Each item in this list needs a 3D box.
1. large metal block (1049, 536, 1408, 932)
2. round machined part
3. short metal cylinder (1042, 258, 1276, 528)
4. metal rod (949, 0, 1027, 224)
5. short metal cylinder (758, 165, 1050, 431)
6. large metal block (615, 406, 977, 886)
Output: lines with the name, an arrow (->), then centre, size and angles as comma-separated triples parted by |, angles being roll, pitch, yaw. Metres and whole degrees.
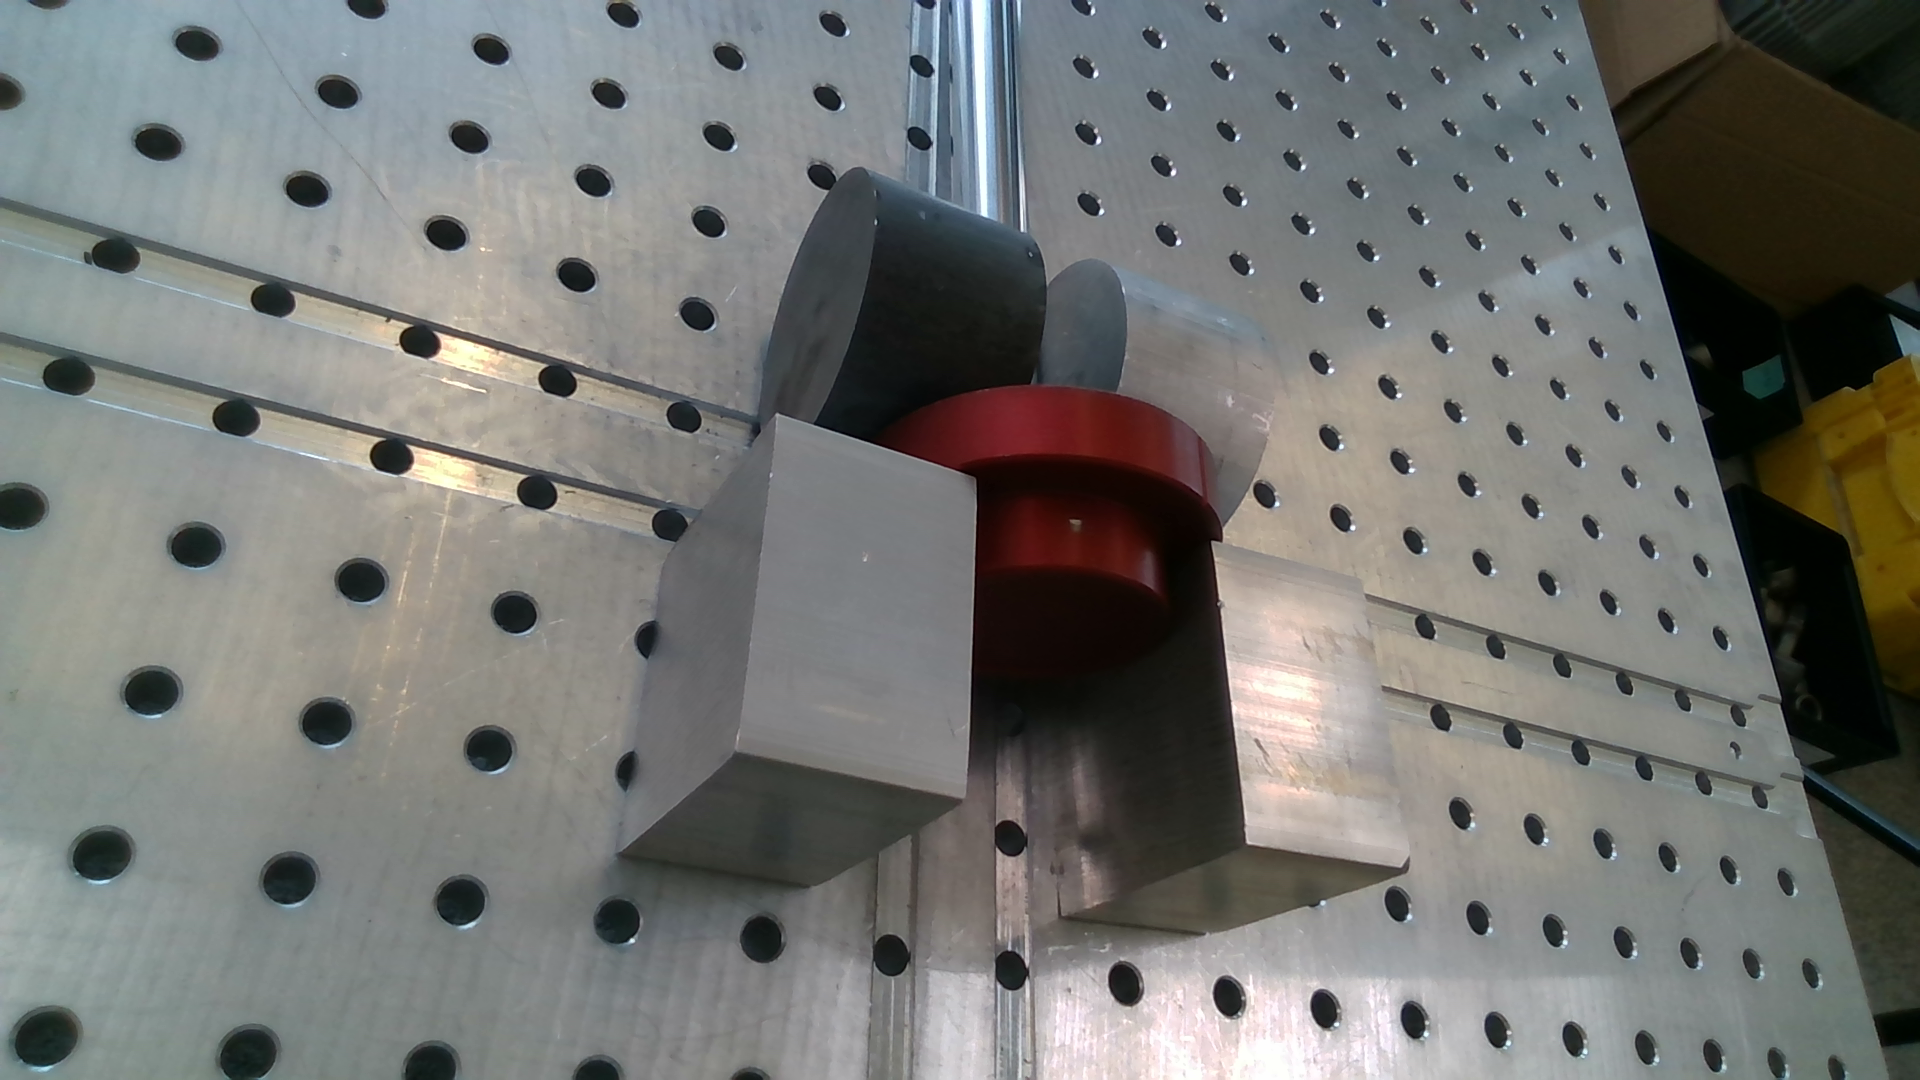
large metal block -> 0.067, 0.056, 0.373 | 0.050, 0.080, 0.080 | 14, 59, -25
round machined part -> 0.019, 0.004, 0.358 | 0.098, 0.098, 0.042 | 15, 58, -24
short metal cylinder -> 0.048, -0.037, 0.411 | 0.050, 0.080, 0.080 | 15, 58, -24
metal rod -> 0.009, -0.111, 0.447 | 0.025, 0.025, 0.299 | 16, 54, -24
short metal cylinder -> -0.018, -0.055, 0.379 | 0.050, 0.080, 0.080 | 15, 58, -24
large metal block -> -0.039, 0.029, 0.323 | 0.050, 0.080, 0.080 | 17, 58, -23
